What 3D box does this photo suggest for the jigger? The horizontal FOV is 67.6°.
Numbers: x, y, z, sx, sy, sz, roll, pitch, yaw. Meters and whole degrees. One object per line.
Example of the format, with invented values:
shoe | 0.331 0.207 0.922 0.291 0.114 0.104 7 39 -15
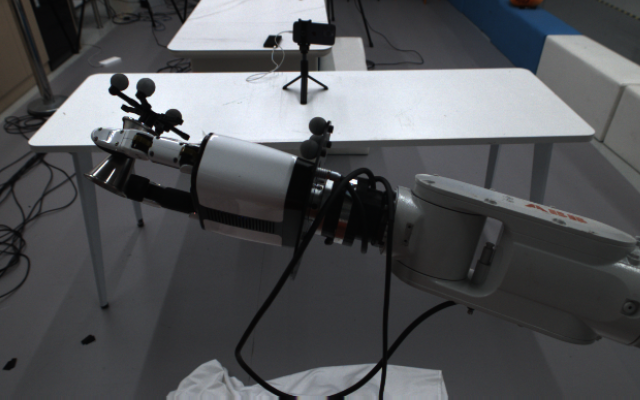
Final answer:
jigger | -0.192 -0.043 0.471 0.043 0.043 0.071 20 73 23
